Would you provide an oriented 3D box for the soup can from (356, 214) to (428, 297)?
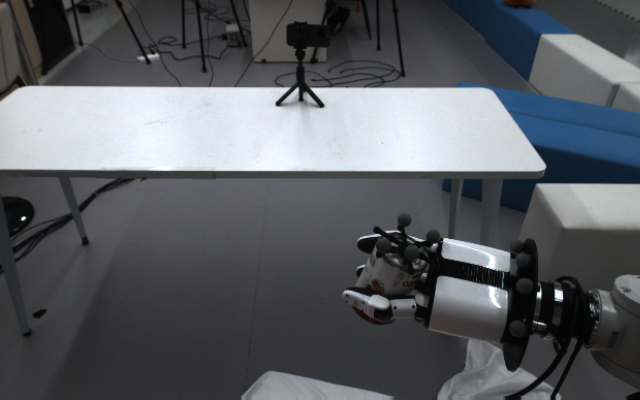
[{"bbox_3d":[0.087,0.099,0.609,0.067,0.101,0.067,14,35,-10],"label":"soup can"}]
